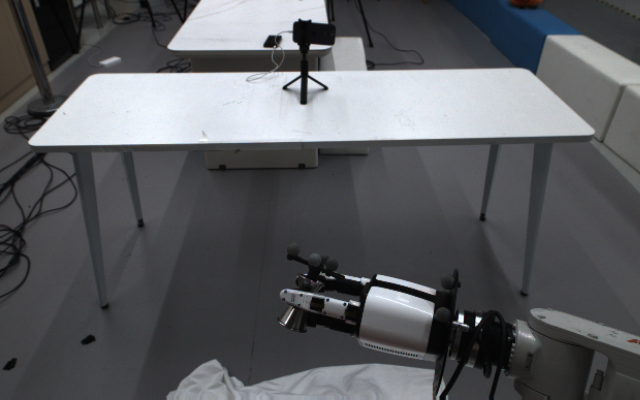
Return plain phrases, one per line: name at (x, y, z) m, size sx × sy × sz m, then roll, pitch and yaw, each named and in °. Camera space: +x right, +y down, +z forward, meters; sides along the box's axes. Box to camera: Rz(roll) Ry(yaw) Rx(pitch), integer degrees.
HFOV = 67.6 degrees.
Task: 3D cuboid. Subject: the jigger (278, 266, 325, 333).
jigger at (-0.026, 0.135, 0.642) m, size 0.043 × 0.071 × 0.043 m, roll 24°, pitch -3°, yaw 1°
